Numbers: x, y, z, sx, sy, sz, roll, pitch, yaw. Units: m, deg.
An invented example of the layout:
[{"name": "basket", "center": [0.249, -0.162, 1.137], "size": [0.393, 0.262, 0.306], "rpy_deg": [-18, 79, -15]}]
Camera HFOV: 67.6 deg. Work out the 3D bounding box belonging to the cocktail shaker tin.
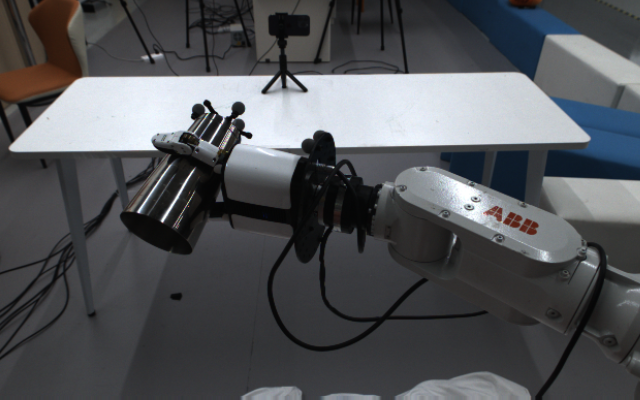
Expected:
[{"name": "cocktail shaker tin", "center": [-0.166, -0.027, 0.609], "size": [0.093, 0.093, 0.170], "rpy_deg": [13, 58, 16]}]
